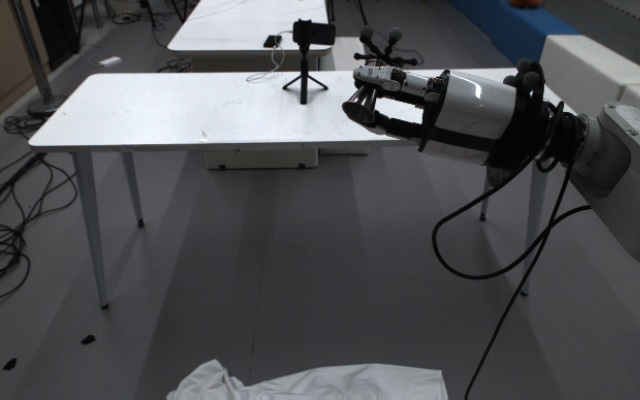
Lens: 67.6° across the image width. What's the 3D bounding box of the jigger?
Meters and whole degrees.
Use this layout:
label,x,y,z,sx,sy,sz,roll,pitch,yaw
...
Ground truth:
label,x,y,z,sx,sy,sz,roll,pitch,yaw
jigger,0.061,-0.140,0.605,0.043,0.043,0.071,19,72,23
